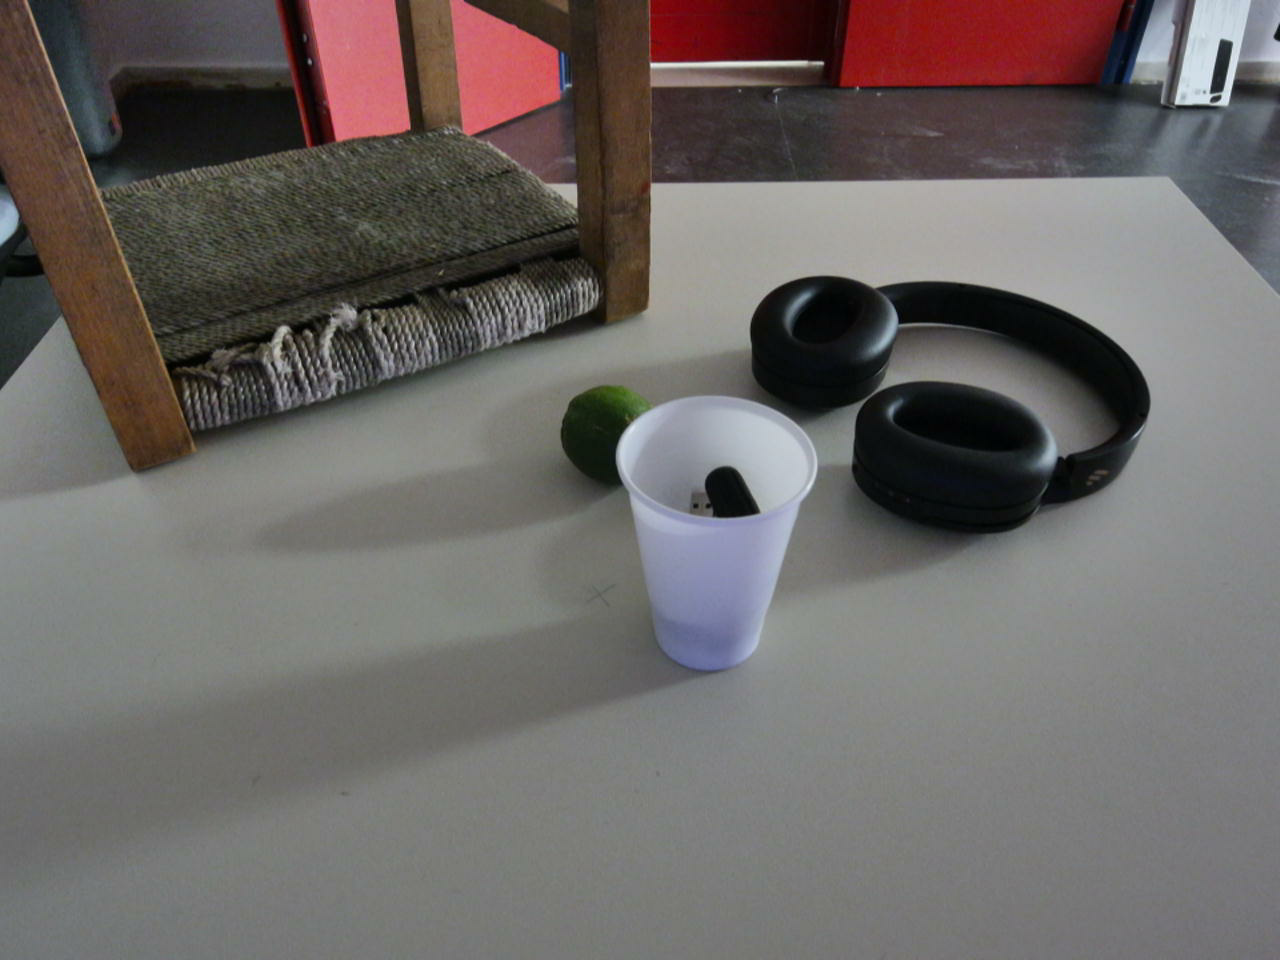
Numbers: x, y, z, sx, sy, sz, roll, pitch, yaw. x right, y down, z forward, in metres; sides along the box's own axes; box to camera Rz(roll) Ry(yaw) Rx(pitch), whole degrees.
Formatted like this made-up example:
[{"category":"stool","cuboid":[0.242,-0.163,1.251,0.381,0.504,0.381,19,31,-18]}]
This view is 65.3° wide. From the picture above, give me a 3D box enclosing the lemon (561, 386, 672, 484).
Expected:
[{"category":"lemon","cuboid":[-0.013,-0.024,0.532,0.057,0.051,0.054,-3,39,-3]}]
